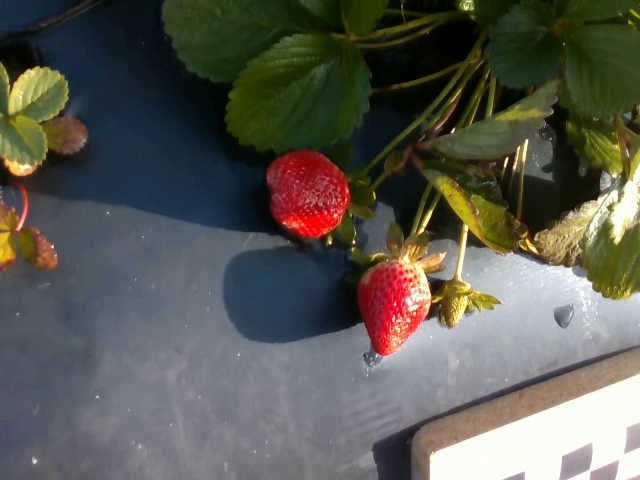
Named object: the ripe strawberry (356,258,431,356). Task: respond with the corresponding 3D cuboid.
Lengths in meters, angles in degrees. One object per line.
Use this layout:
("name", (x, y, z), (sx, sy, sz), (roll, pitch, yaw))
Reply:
("ripe strawberry", (0.037, 0.034, 0.273), (0.043, 0.053, 0.038), (32, -34, -30))

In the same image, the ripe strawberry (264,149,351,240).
("ripe strawberry", (-0.006, -0.021, 0.272), (0.039, 0.048, 0.054), (25, 23, 39))
